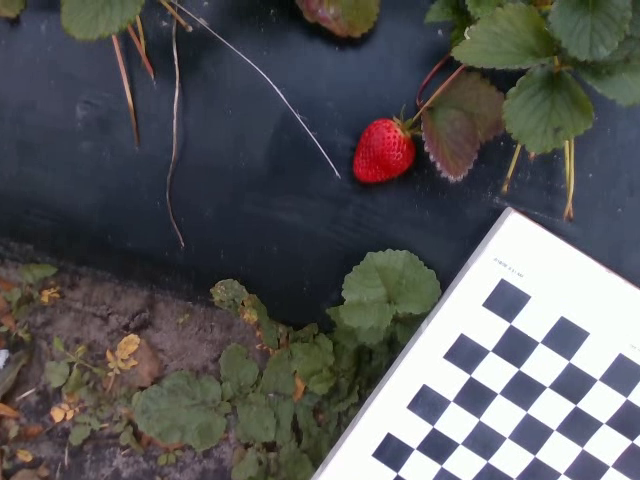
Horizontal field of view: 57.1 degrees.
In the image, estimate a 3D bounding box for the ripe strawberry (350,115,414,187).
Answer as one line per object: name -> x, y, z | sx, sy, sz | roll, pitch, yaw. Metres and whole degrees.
ripe strawberry -> 0.026, -0.039, 0.259 | 0.032, 0.029, 0.022 | -42, -3, 10
